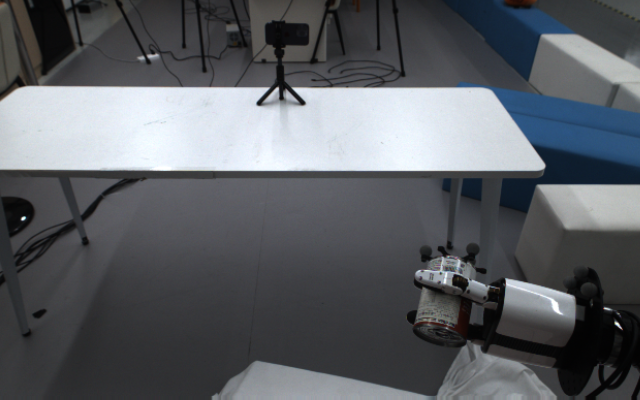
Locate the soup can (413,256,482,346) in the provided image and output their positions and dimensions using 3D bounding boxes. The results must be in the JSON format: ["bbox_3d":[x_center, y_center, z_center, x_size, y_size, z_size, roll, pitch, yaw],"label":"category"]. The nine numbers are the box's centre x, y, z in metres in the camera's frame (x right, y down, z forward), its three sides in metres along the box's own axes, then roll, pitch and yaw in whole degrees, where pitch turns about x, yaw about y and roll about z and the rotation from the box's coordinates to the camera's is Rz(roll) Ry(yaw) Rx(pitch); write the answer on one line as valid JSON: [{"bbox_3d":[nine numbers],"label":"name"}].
[{"bbox_3d":[0.167,0.130,0.638,0.067,0.067,0.101,12,59,14],"label":"soup can"}]
